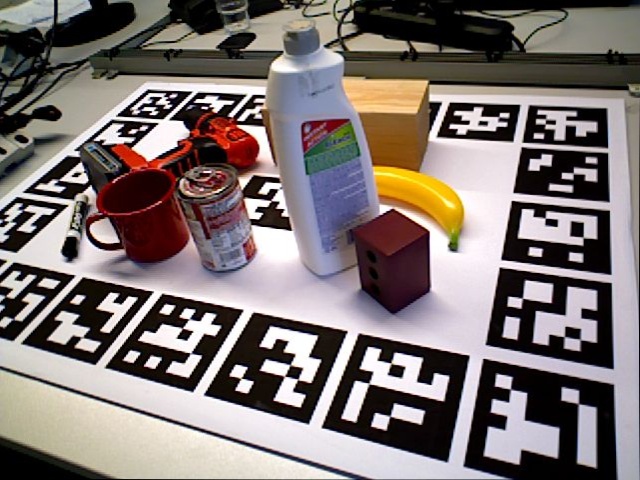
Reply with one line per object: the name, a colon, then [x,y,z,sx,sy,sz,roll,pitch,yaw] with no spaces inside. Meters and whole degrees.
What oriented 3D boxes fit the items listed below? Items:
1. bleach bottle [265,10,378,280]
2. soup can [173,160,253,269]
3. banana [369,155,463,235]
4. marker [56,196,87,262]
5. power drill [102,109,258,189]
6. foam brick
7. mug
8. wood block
bleach bottle: [0.006,-0.084,0.513,0.100,0.255,0.068,-32,44,-25]
soup can: [-0.112,-0.028,0.583,0.068,0.104,0.067,-4,38,2]
banana: [0.087,-0.066,0.636,0.198,0.039,0.073,22,64,30]
marker: [-0.316,-0.015,0.692,0.019,0.020,0.119,-14,41,-1]
power drill: [-0.203,-0.113,0.755,0.183,0.058,0.184,-33,48,-25]
foam brick: [0.074,0.024,0.512,0.050,0.079,0.053,-28,41,-23]
mug: [-0.212,-0.028,0.629,0.116,0.083,0.093,-25,45,-12]
wood block: [0.040,-0.150,0.710,0.207,0.092,0.088,7,45,20]
